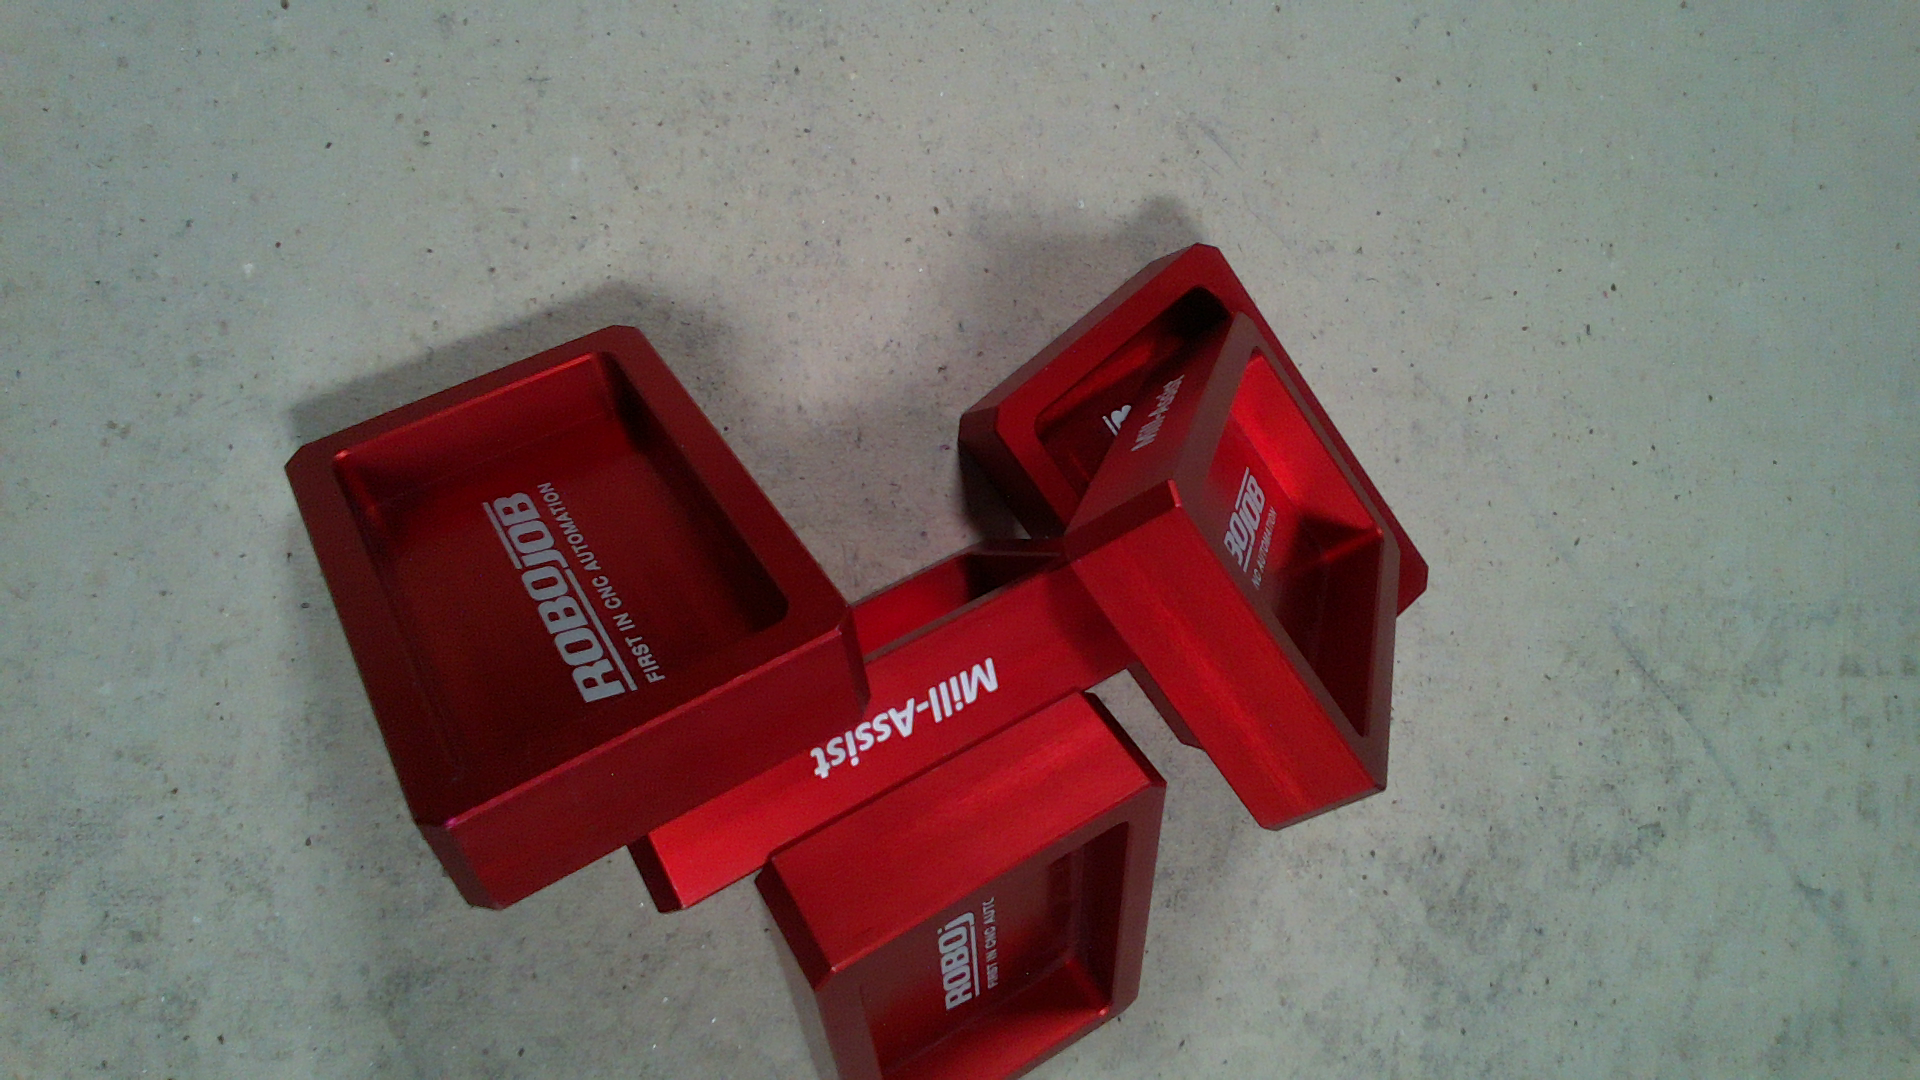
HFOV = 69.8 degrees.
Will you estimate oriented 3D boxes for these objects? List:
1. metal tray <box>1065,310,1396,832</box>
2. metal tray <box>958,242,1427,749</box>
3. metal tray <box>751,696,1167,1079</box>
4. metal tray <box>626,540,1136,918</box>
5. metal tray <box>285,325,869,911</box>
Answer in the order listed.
[{"bbox_3d":[0.078,0.002,0.363,0.090,0.030,0.130,54,30,-13],"label":"metal tray"},{"bbox_3d":[0.073,-0.011,0.417,0.090,0.030,0.130,-40,103,-15],"label":"metal tray"},{"bbox_3d":[0.003,0.104,0.349,0.090,0.030,0.130,-26,143,-18],"label":"metal tray"},{"bbox_3d":[-0.027,0.040,0.349,0.130,0.090,0.030,-26,99,-18],"label":"metal tray"},{"bbox_3d":[-0.090,0.008,0.311,0.090,0.130,0.030,-26,137,-18],"label":"metal tray"}]
